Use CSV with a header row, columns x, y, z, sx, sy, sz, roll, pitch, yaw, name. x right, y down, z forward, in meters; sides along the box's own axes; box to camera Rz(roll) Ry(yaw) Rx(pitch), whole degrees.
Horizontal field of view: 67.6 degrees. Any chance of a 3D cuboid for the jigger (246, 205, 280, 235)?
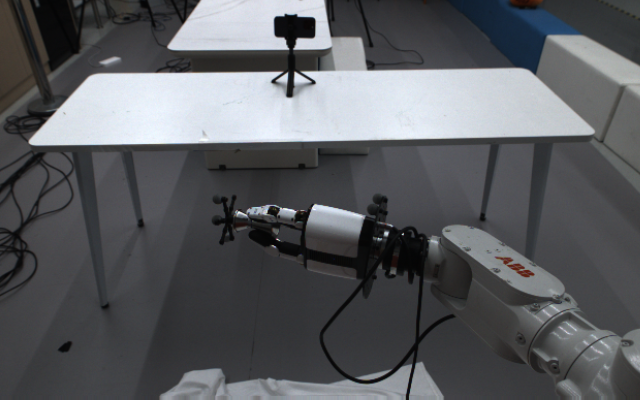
x,y,z,sx,sy,sz,roll,pitch,yaw,name
-0.096,0.033,0.793,0.071,0.043,0.043,5,34,13,jigger
